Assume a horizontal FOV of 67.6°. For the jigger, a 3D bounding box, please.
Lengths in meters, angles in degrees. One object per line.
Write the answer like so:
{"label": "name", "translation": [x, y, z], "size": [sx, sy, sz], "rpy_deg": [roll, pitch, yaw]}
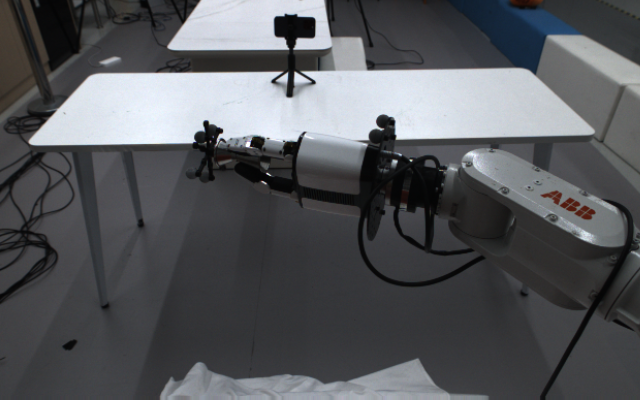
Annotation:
{"label": "jigger", "translation": [-0.101, -0.066, 0.666], "size": [0.071, 0.043, 0.043], "rpy_deg": [6, 35, 13]}
